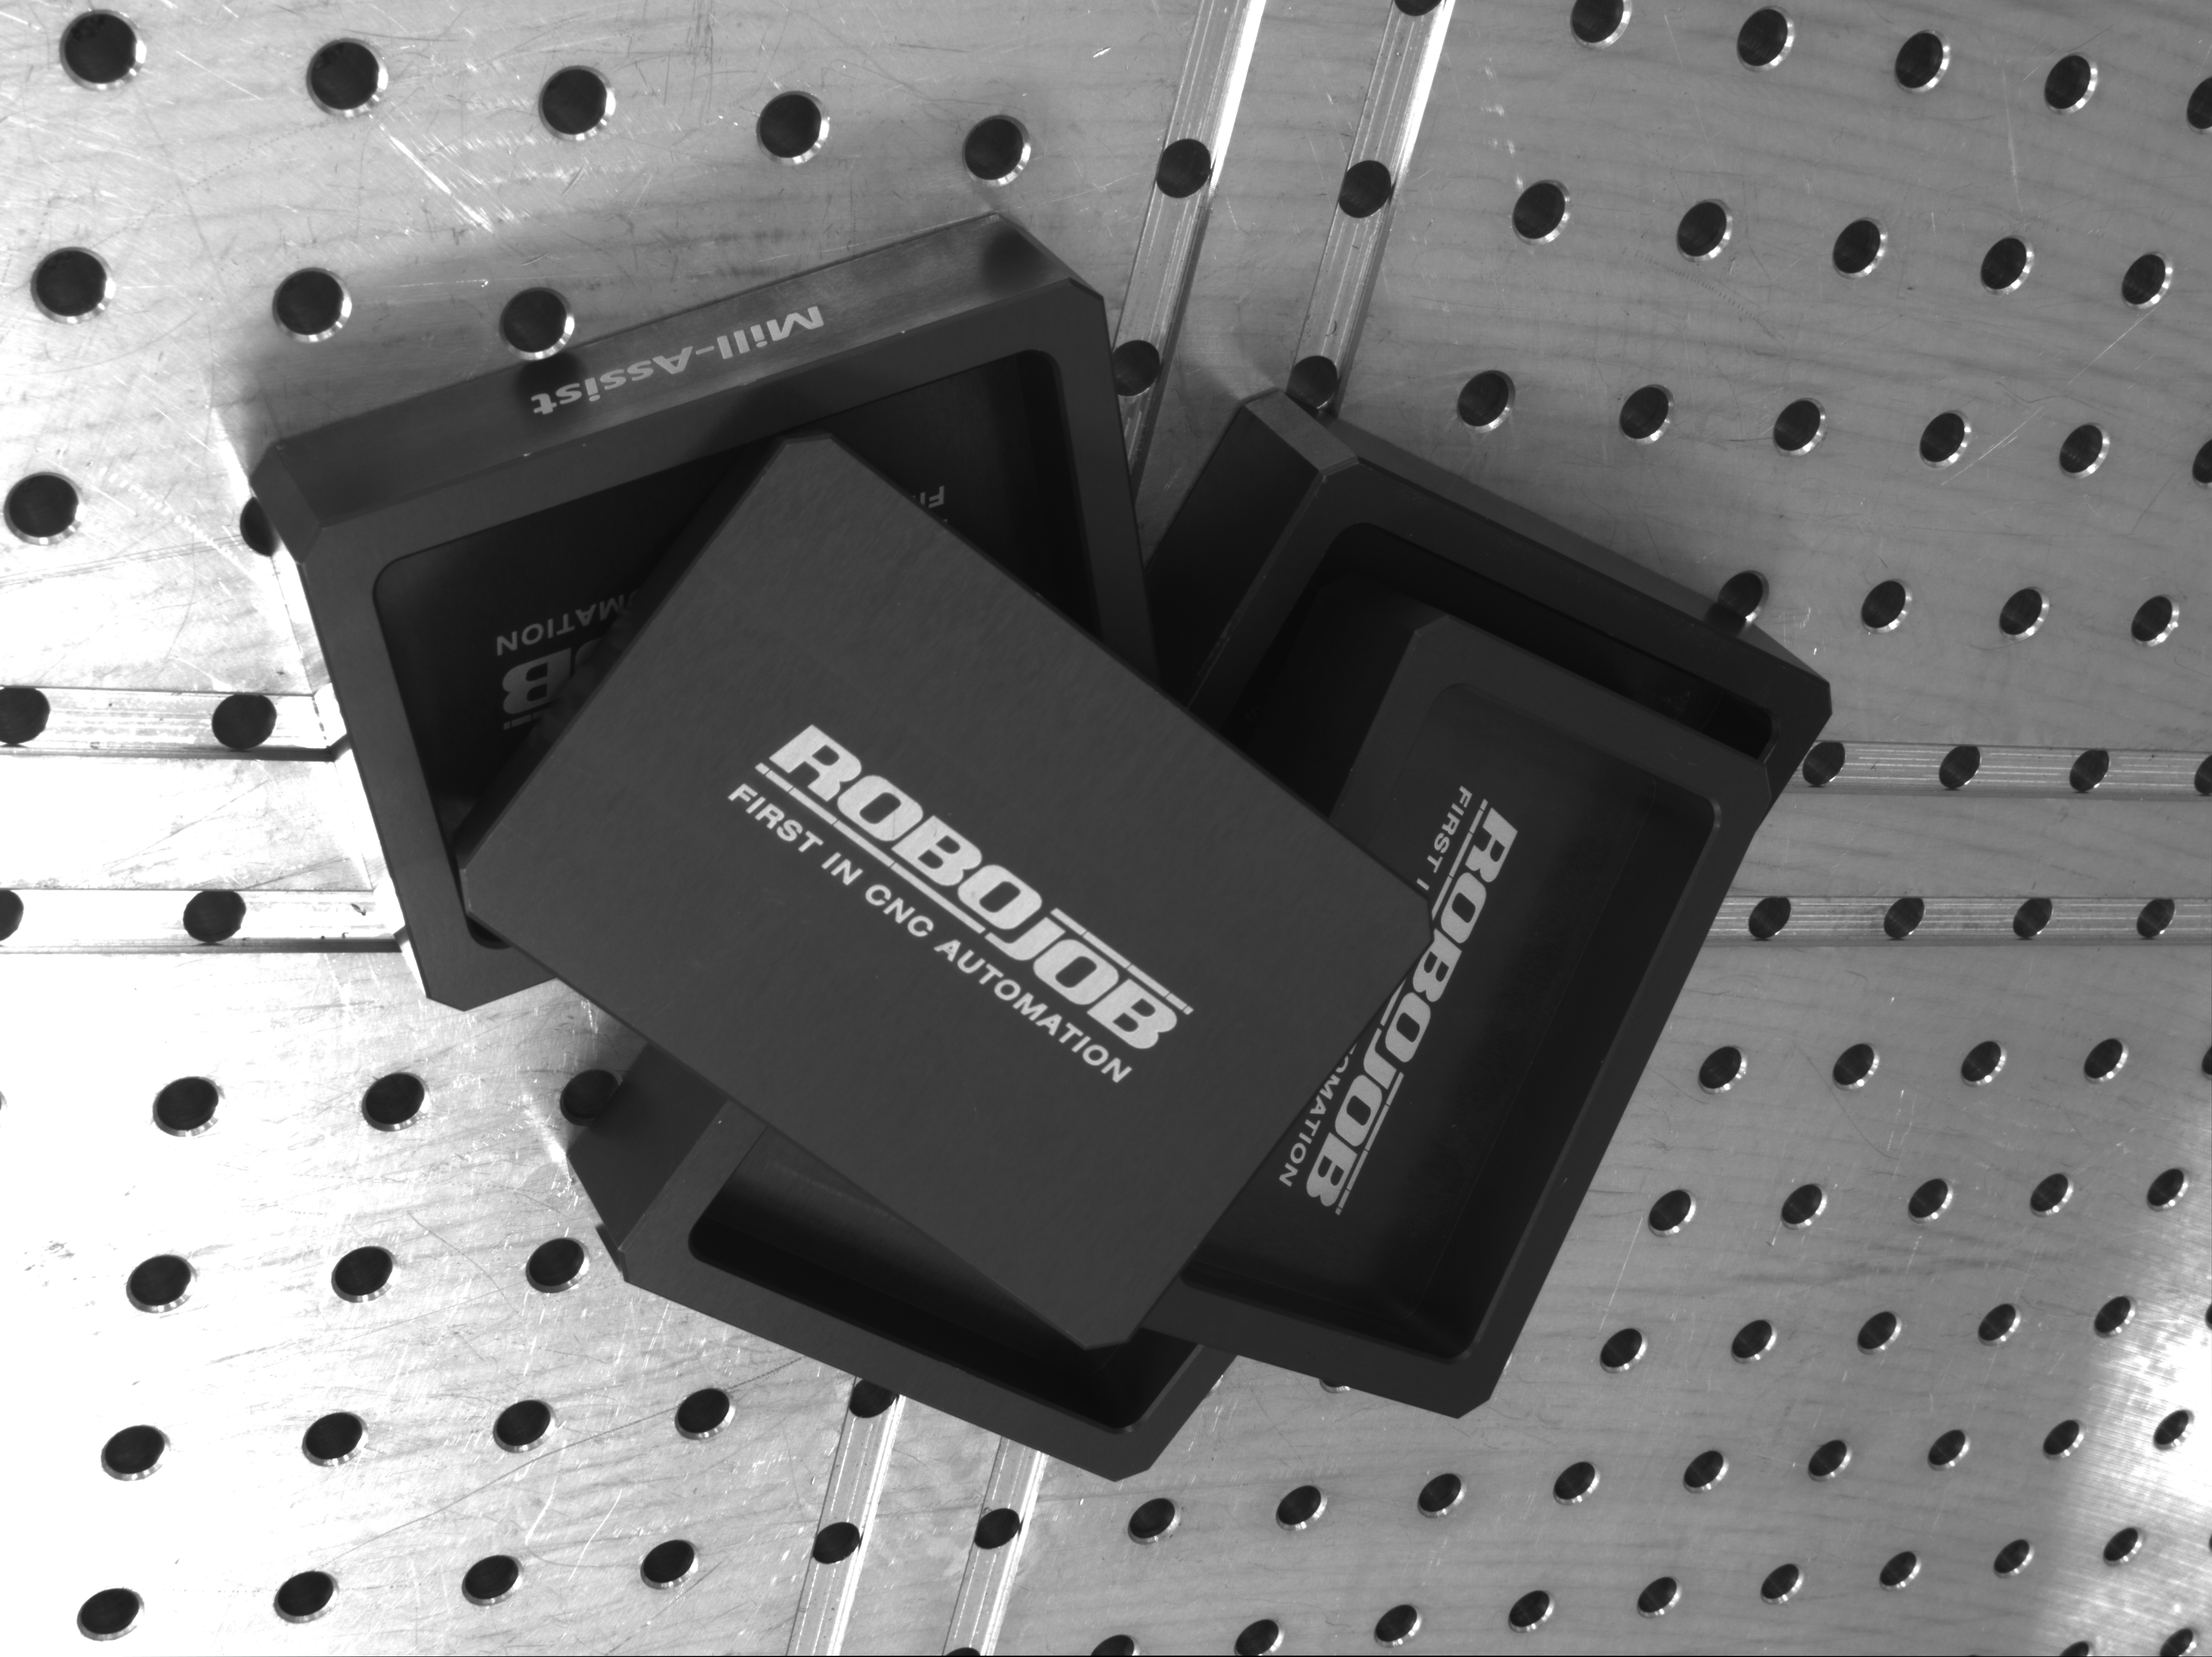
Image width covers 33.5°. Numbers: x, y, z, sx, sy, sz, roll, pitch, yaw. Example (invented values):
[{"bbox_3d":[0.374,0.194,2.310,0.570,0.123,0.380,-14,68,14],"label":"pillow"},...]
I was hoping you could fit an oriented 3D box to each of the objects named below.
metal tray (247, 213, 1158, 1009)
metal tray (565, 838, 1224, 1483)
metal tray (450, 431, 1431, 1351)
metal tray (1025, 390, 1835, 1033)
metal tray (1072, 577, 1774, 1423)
[{"bbox_3d":[-0.060,-0.035,0.584,0.130,0.030,0.090,-20,126,-16],"label":"metal tray"},{"bbox_3d":[-0.020,0.058,0.662,0.130,0.030,0.090,29,102,-37],"label":"metal tray"},{"bbox_3d":[-0.025,0.010,0.577,0.130,0.030,0.090,37,90,-16],"label":"metal tray"},{"bbox_3d":[0.059,-0.013,0.660,0.130,0.030,0.090,21,107,-35],"label":"metal tray"},{"bbox_3d":[0.053,0.032,0.645,0.090,0.030,0.130,22,95,-36],"label":"metal tray"}]
